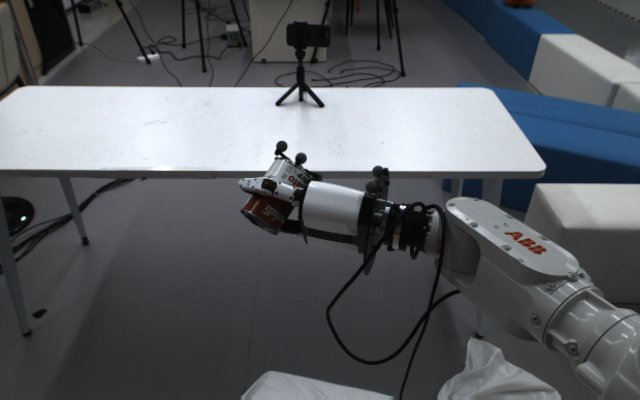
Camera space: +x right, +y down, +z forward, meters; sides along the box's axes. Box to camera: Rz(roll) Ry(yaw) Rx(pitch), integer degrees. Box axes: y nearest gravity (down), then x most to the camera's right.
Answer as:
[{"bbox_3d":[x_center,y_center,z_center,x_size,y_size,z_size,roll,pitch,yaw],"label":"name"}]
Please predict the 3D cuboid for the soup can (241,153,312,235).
[{"bbox_3d":[-0.067,-0.007,0.742,0.067,0.067,0.101,25,73,29],"label":"soup can"}]
